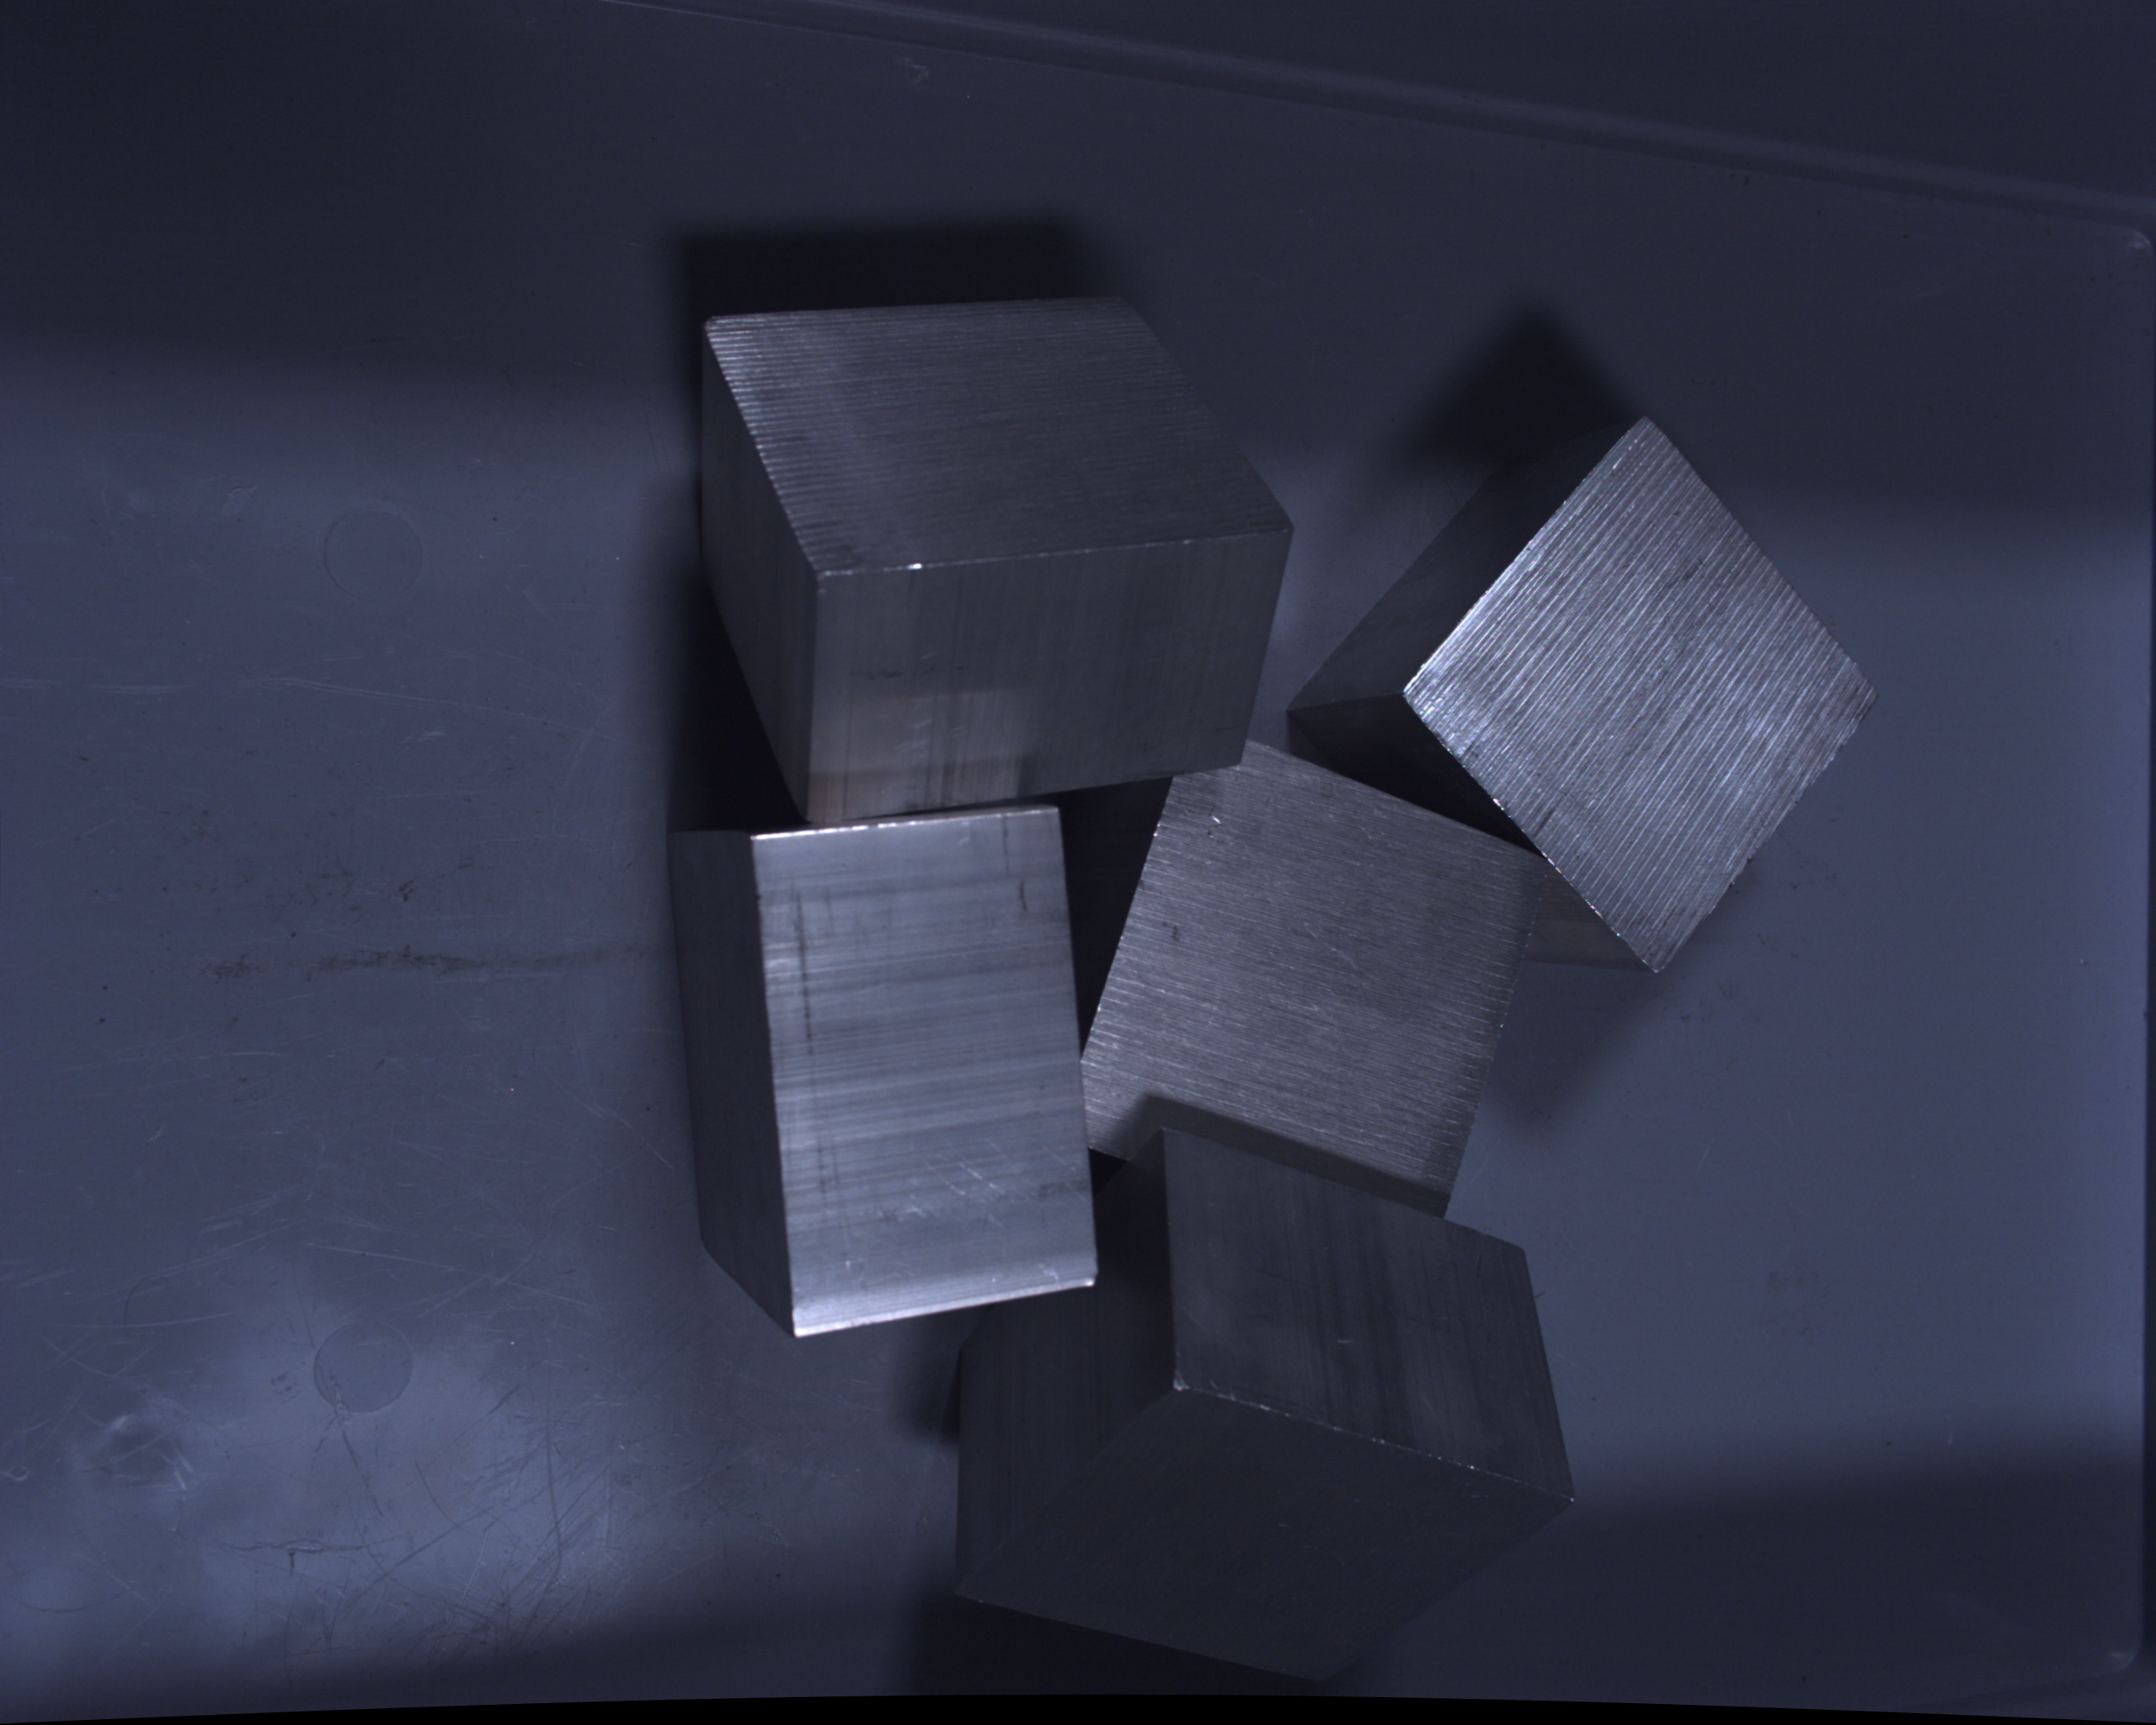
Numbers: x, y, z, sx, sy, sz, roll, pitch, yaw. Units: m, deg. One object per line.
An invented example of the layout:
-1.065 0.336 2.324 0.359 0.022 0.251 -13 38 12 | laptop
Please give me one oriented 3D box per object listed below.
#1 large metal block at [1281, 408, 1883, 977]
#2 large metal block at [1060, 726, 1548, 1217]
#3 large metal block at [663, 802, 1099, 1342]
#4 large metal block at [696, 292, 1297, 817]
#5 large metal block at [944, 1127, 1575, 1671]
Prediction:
0.105 -0.034 0.436 0.080 0.050 0.080 46 76 -15 | large metal block
0.035 0.024 0.411 0.080 0.050 0.080 20 83 -19 | large metal block
-0.038 0.032 0.367 0.050 0.080 0.079 -6 92 -20 | large metal block
-0.019 -0.057 0.367 0.081 0.080 0.050 -8 135 -19 | large metal block
0.030 0.102 0.386 0.080 0.080 0.050 21 41 -21 | large metal block
